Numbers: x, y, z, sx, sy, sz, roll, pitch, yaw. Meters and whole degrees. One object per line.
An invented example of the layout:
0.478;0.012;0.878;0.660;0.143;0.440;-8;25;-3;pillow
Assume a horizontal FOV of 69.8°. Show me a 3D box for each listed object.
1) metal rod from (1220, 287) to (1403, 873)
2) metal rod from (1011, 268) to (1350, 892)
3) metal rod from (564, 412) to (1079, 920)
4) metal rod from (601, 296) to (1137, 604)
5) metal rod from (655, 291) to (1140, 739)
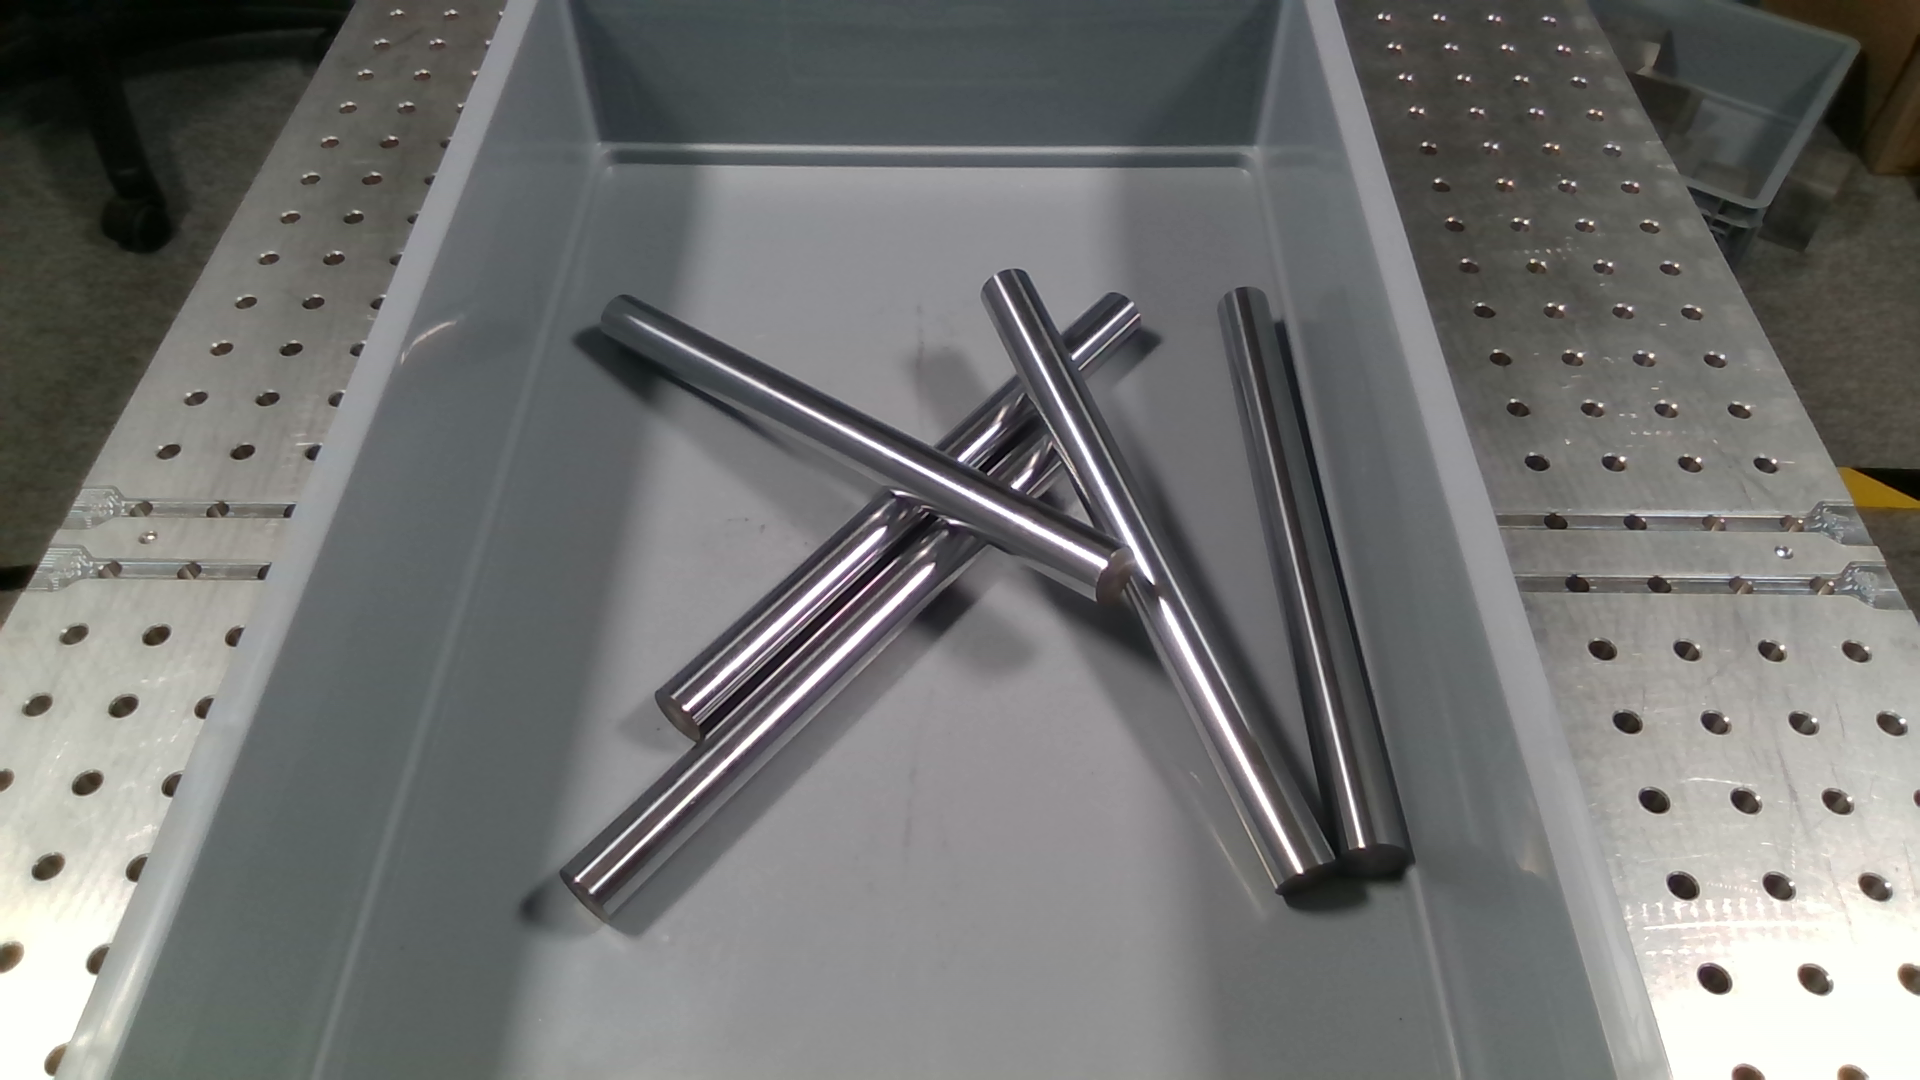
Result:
0.143;-0.001;0.587;0.025;0.025;0.299;-1;50;-1;metal rod
0.080;0.001;0.566;0.025;0.025;0.299;-14;58;-11;metal rod
-0.037;0.035;0.558;0.025;0.025;0.299;32;57;24;metal rod
-0.053;-0.047;0.600;0.300;0.025;0.025;28;55;31;metal rod
-0.015;-0.022;0.605;0.025;0.025;0.299;32;57;24;metal rod
